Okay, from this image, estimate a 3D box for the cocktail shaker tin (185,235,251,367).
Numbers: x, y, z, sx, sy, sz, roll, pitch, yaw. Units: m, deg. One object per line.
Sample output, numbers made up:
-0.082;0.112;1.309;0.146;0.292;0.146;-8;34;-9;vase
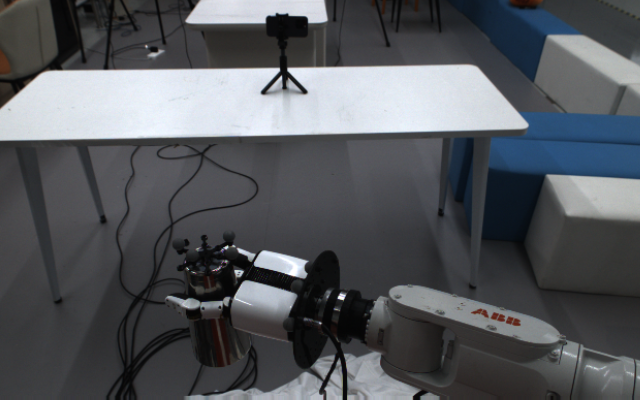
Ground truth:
-0.151;0.152;0.716;0.093;0.170;0.093;-1;32;1;cocktail shaker tin
